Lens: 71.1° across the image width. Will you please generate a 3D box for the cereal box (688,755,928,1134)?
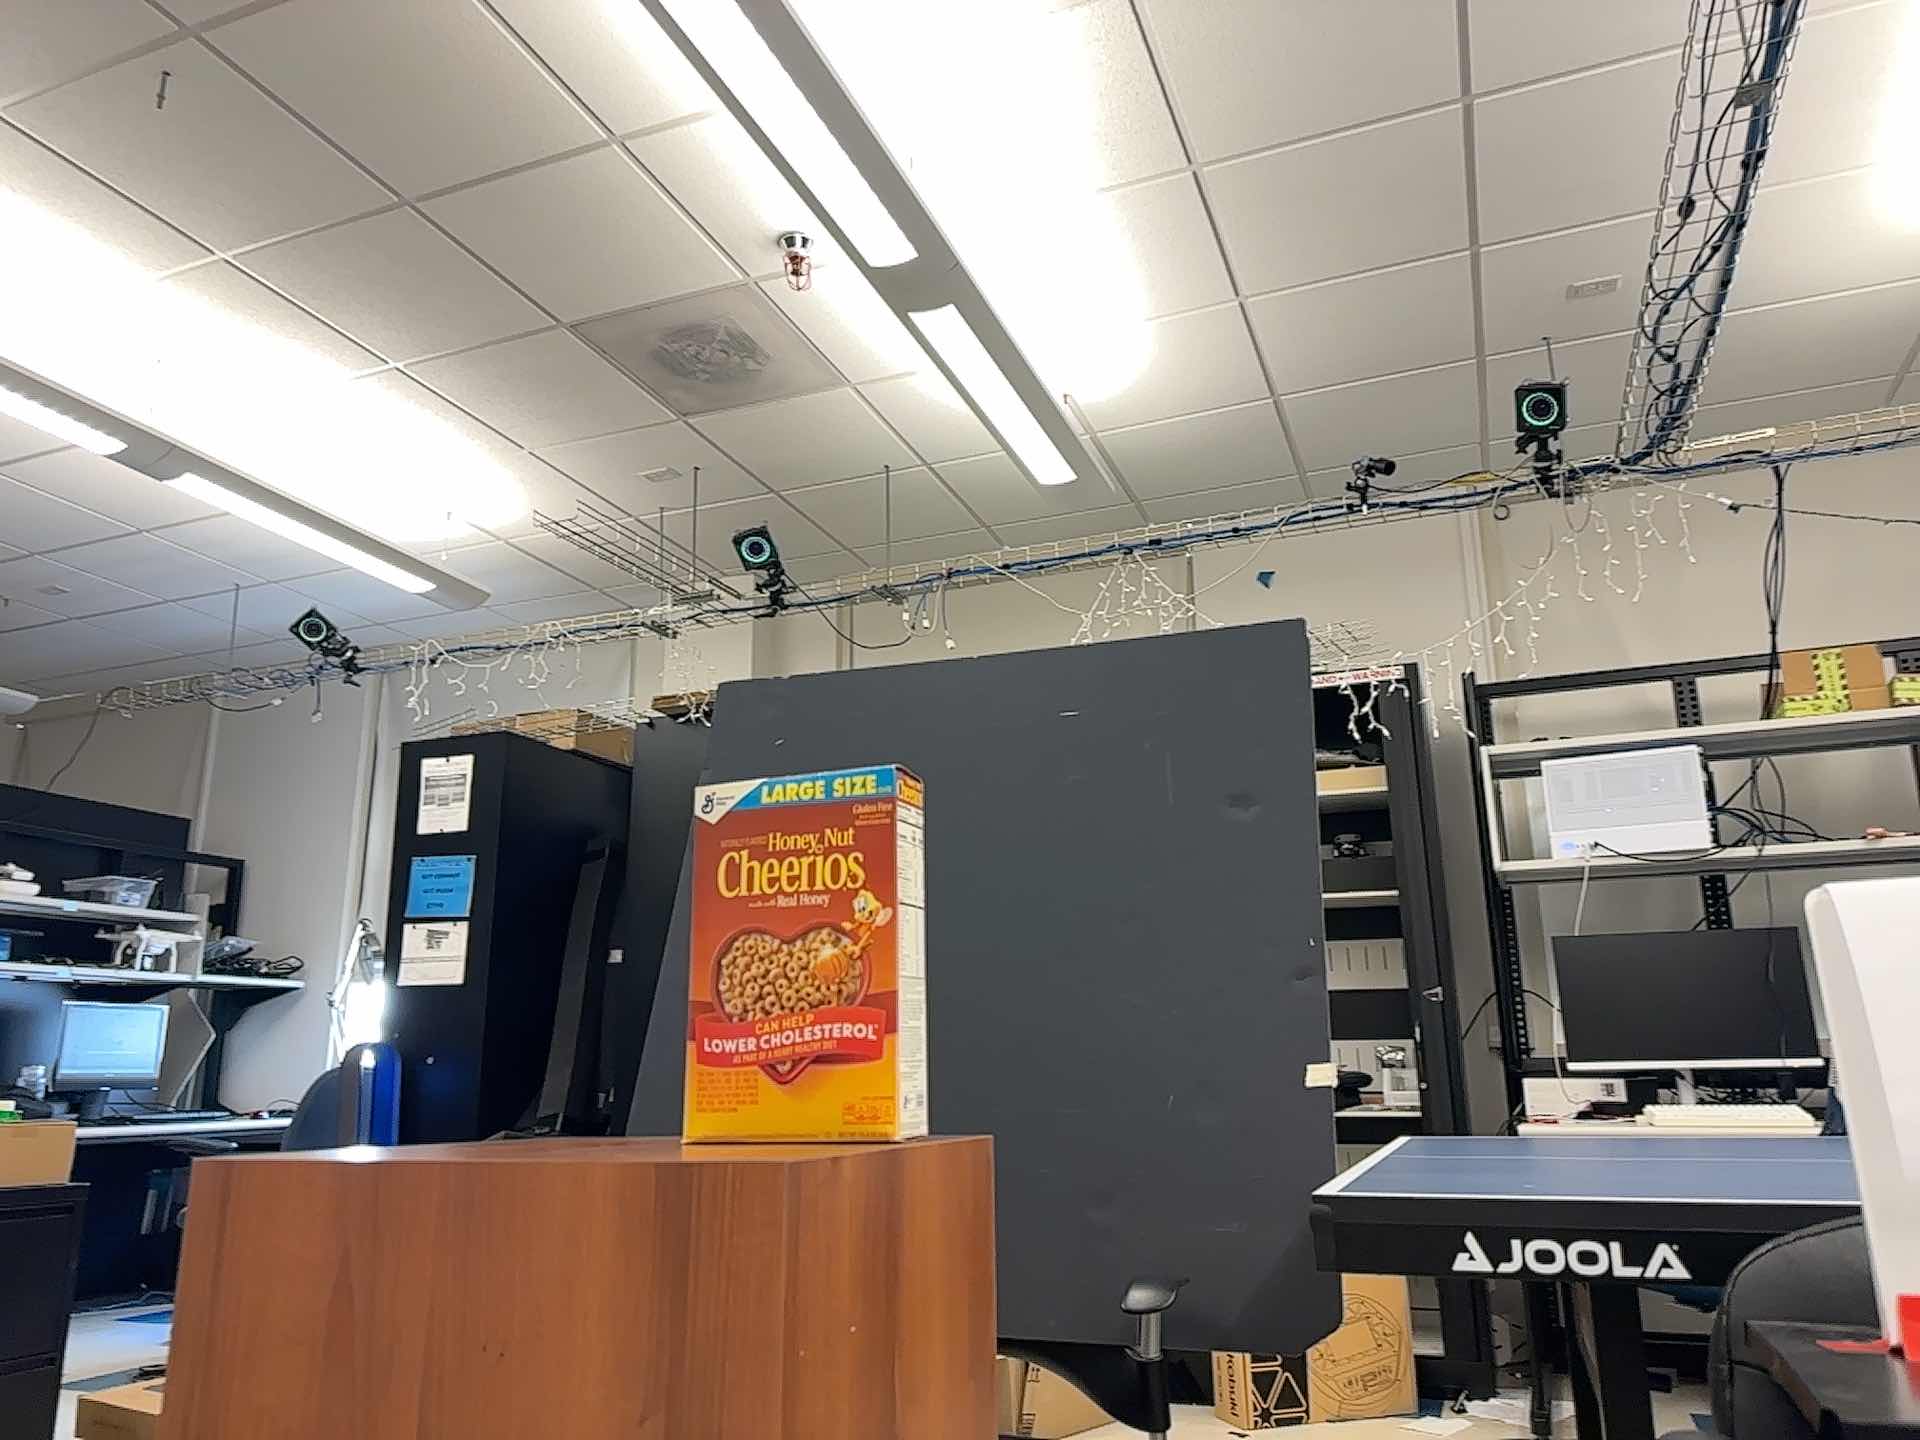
[{"bbox_3d":[-0.136,0.195,1.157,0.195,0.297,0.065,-9,-14,27],"label":"cereal box"}]
